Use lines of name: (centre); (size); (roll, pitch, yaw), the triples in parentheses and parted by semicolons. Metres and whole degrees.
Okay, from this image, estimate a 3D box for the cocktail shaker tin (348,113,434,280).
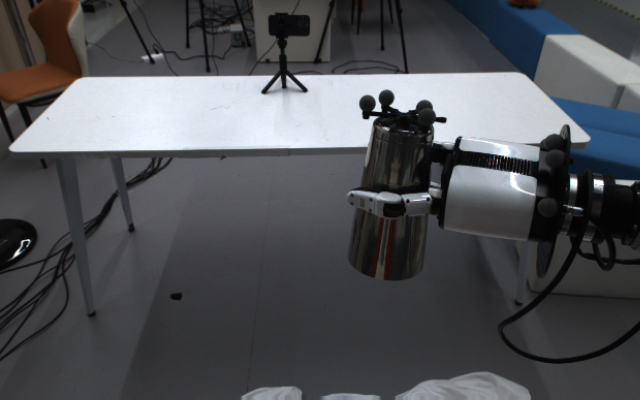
cocktail shaker tin: (0.086, -0.005, 0.554); (0.093, 0.170, 0.093); (3, 25, -1)
